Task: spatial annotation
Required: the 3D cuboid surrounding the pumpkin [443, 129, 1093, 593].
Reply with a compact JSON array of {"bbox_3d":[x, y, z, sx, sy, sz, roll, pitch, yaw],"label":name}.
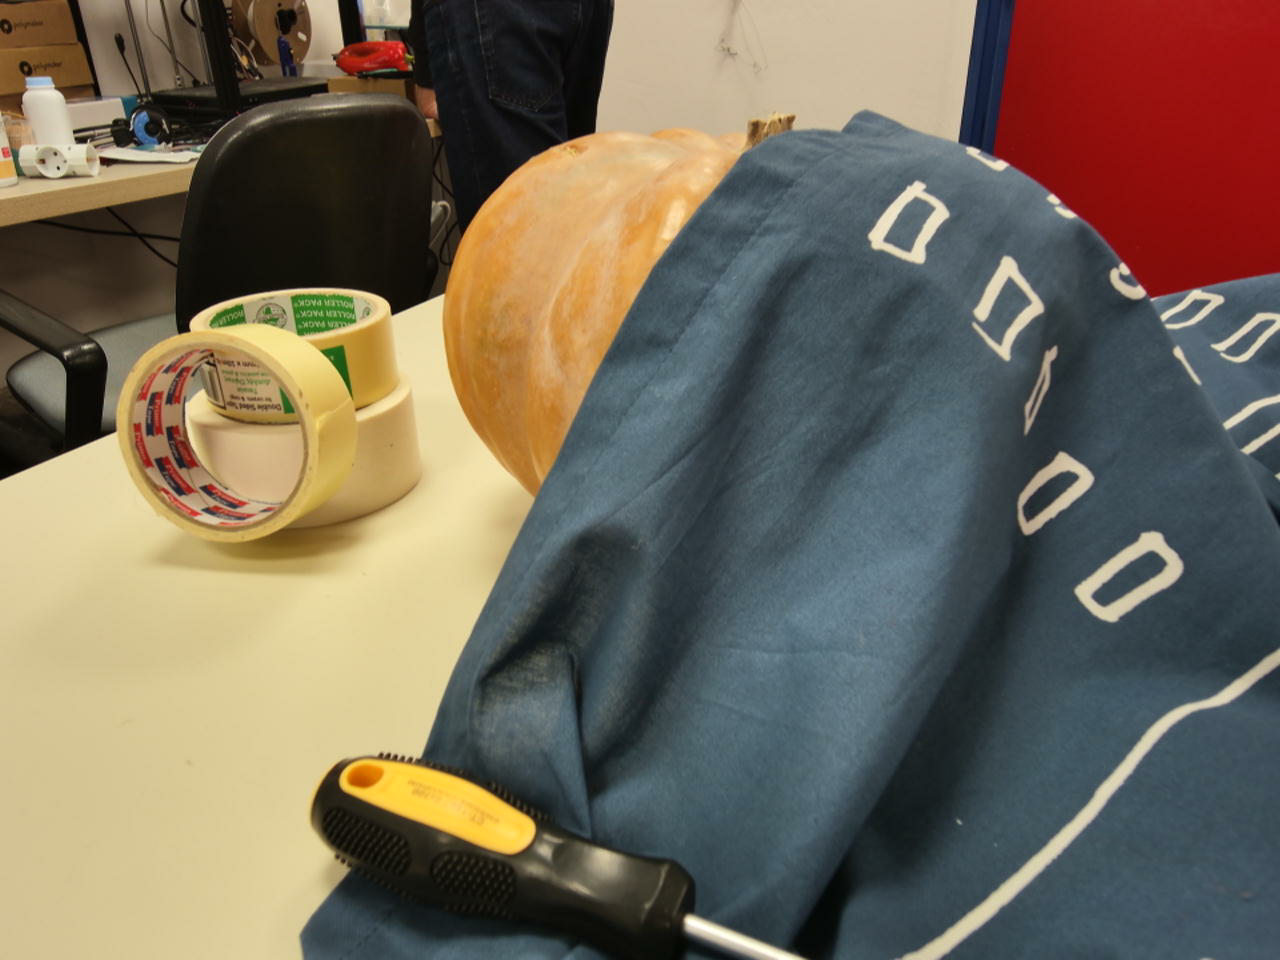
[{"bbox_3d":[0.048,-0.063,0.437,0.277,0.181,0.277,0,24,0],"label":"pumpkin"}]
